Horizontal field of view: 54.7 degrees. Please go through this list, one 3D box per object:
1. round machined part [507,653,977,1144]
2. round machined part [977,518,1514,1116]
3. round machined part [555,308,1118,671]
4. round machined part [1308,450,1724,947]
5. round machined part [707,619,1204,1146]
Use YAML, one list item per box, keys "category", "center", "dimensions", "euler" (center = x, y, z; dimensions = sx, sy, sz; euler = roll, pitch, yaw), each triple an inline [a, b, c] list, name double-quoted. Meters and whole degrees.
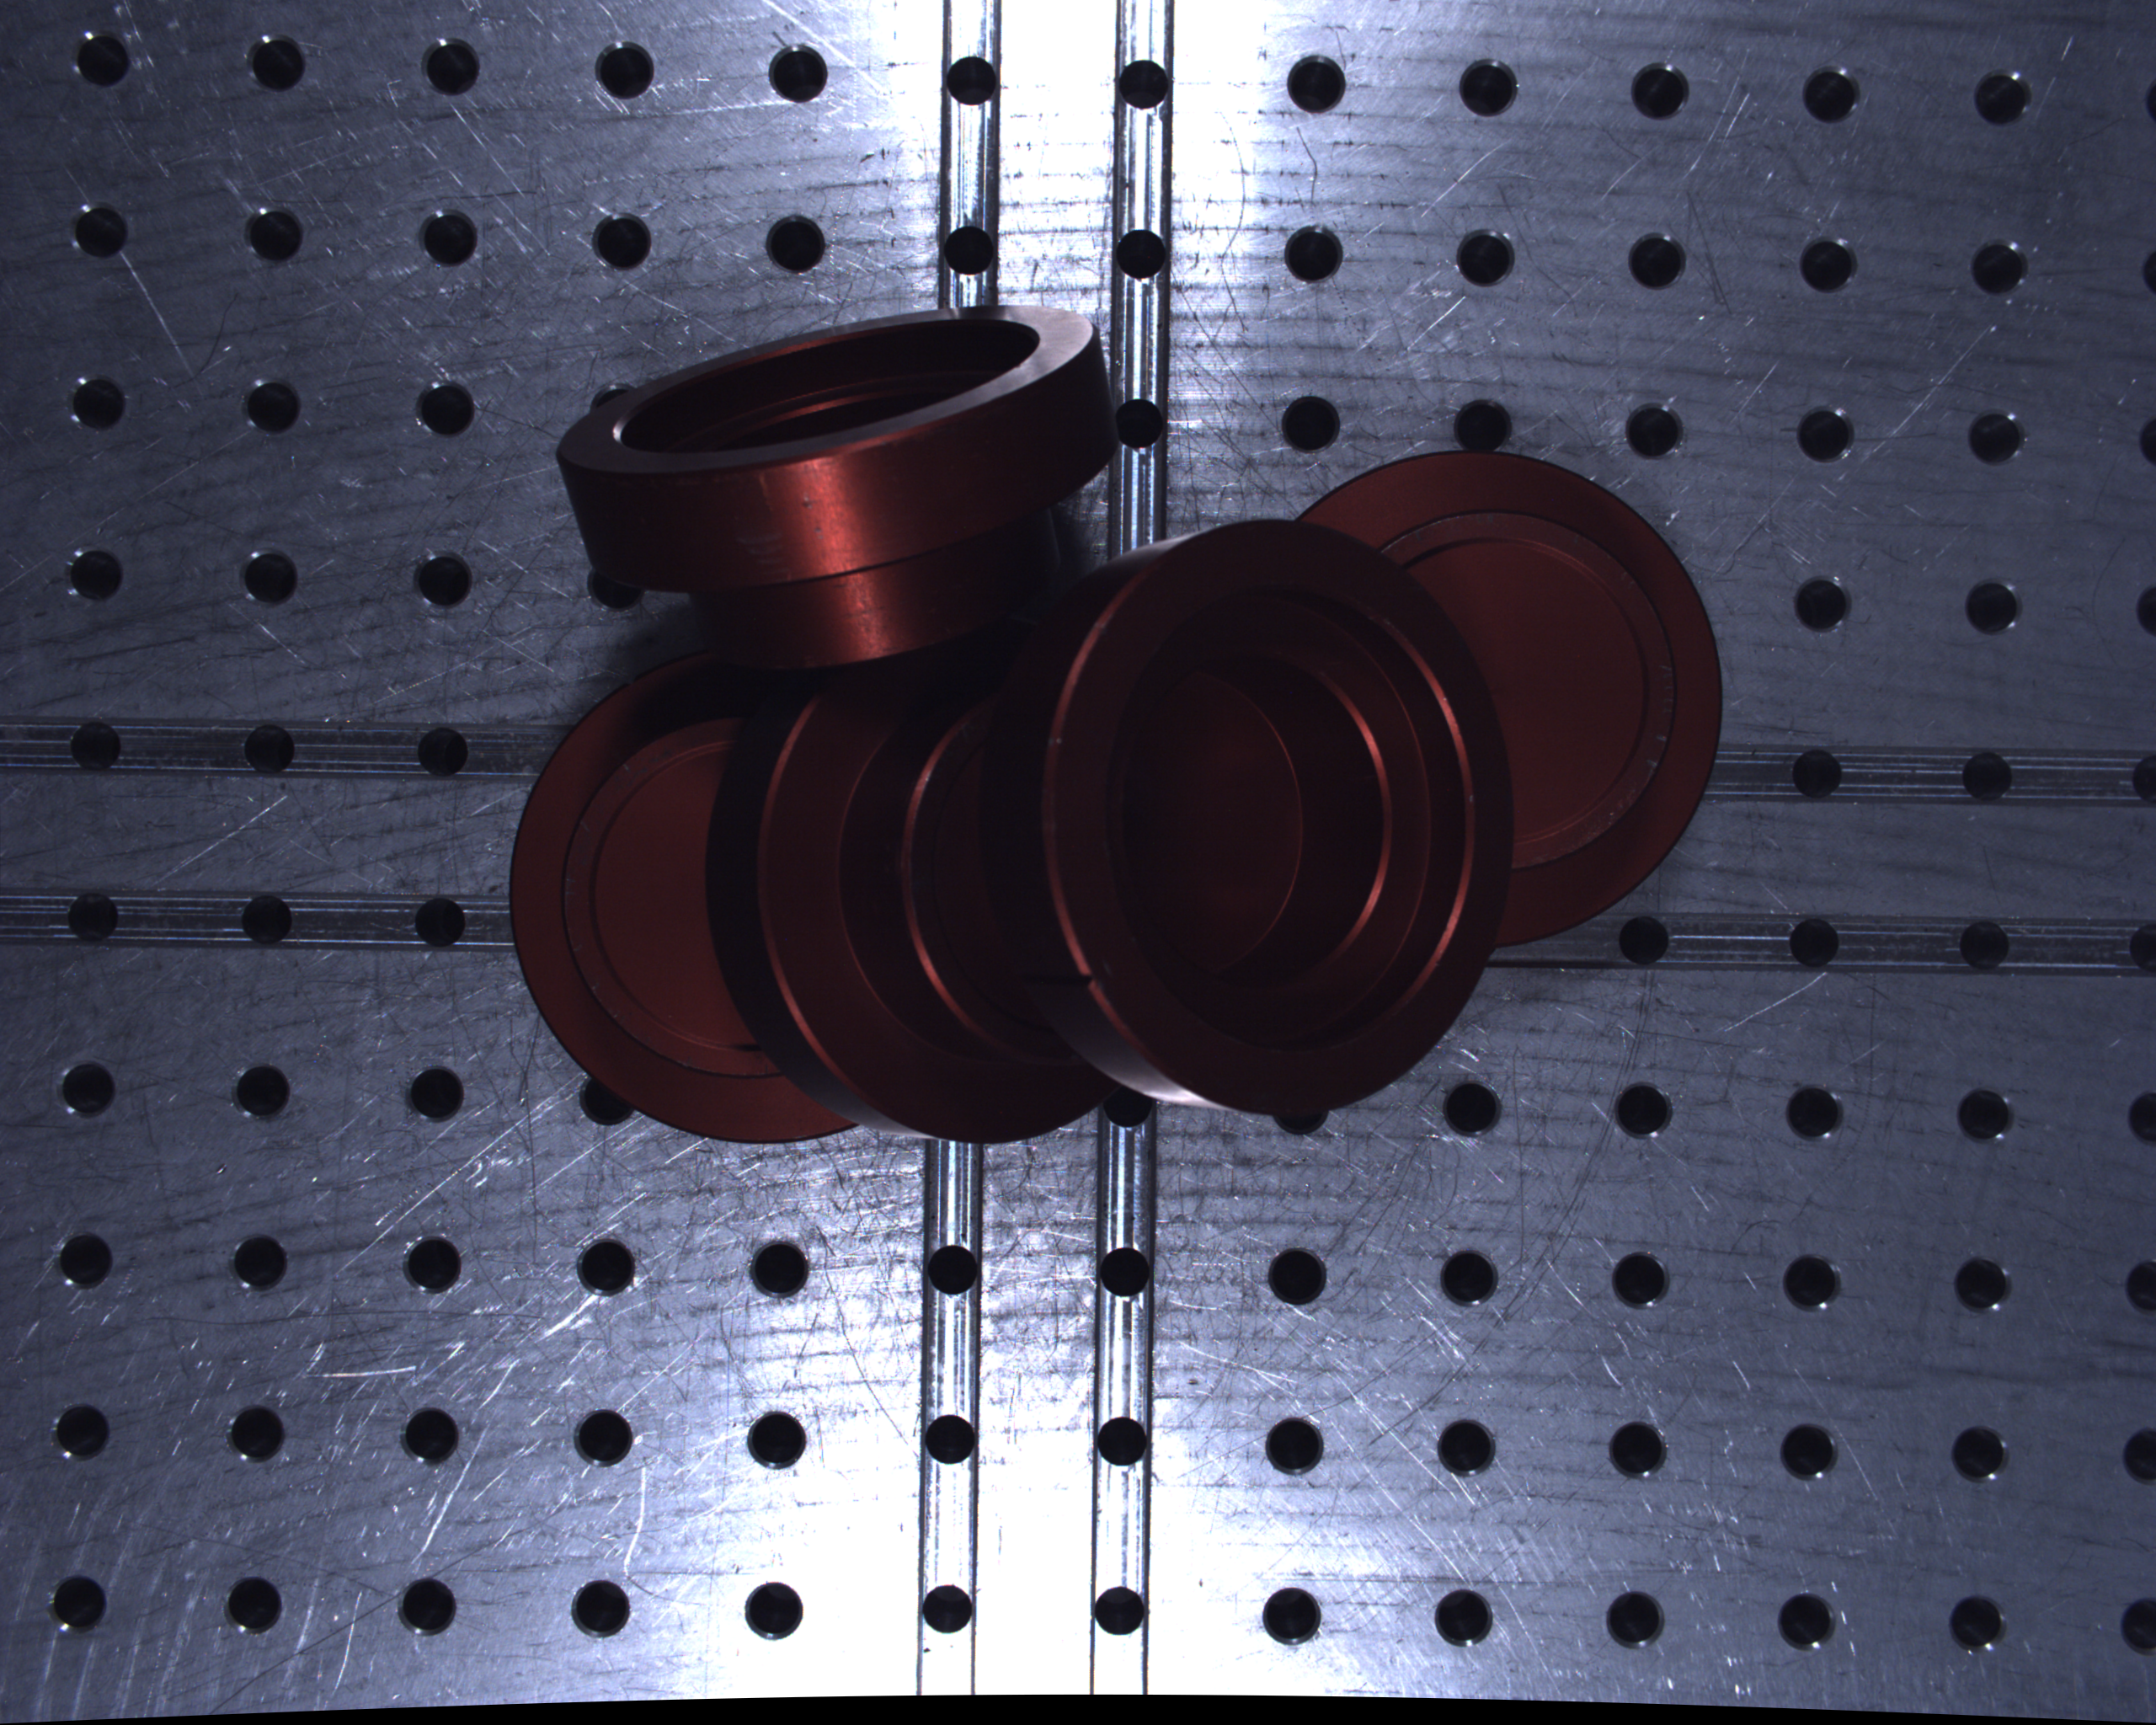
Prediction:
- category: "round machined part"
  center: [-0.061, 0.006, 0.404]
  dimensions: [0.099, 0.042, 0.097]
  euler: [0, 90, -1]
- category: "round machined part"
  center: [0.025, -0.007, 0.357]
  dimensions: [0.099, 0.042, 0.097]
  euler: [1, 88, -33]
- category: "round machined part"
  center: [-0.041, -0.068, 0.381]
  dimensions: [0.099, 0.098, 0.042]
  euler: [-12, 116, -1]
- category: "round machined part"
  center: [0.077, -0.032, 0.406]
  dimensions: [0.099, 0.042, 0.097]
  euler: [0, 90, -1]
- category: "round machined part"
  center: [-0.014, 0.003, 0.381]
  dimensions: [0.099, 0.042, 0.097]
  euler: [3, 85, -37]
